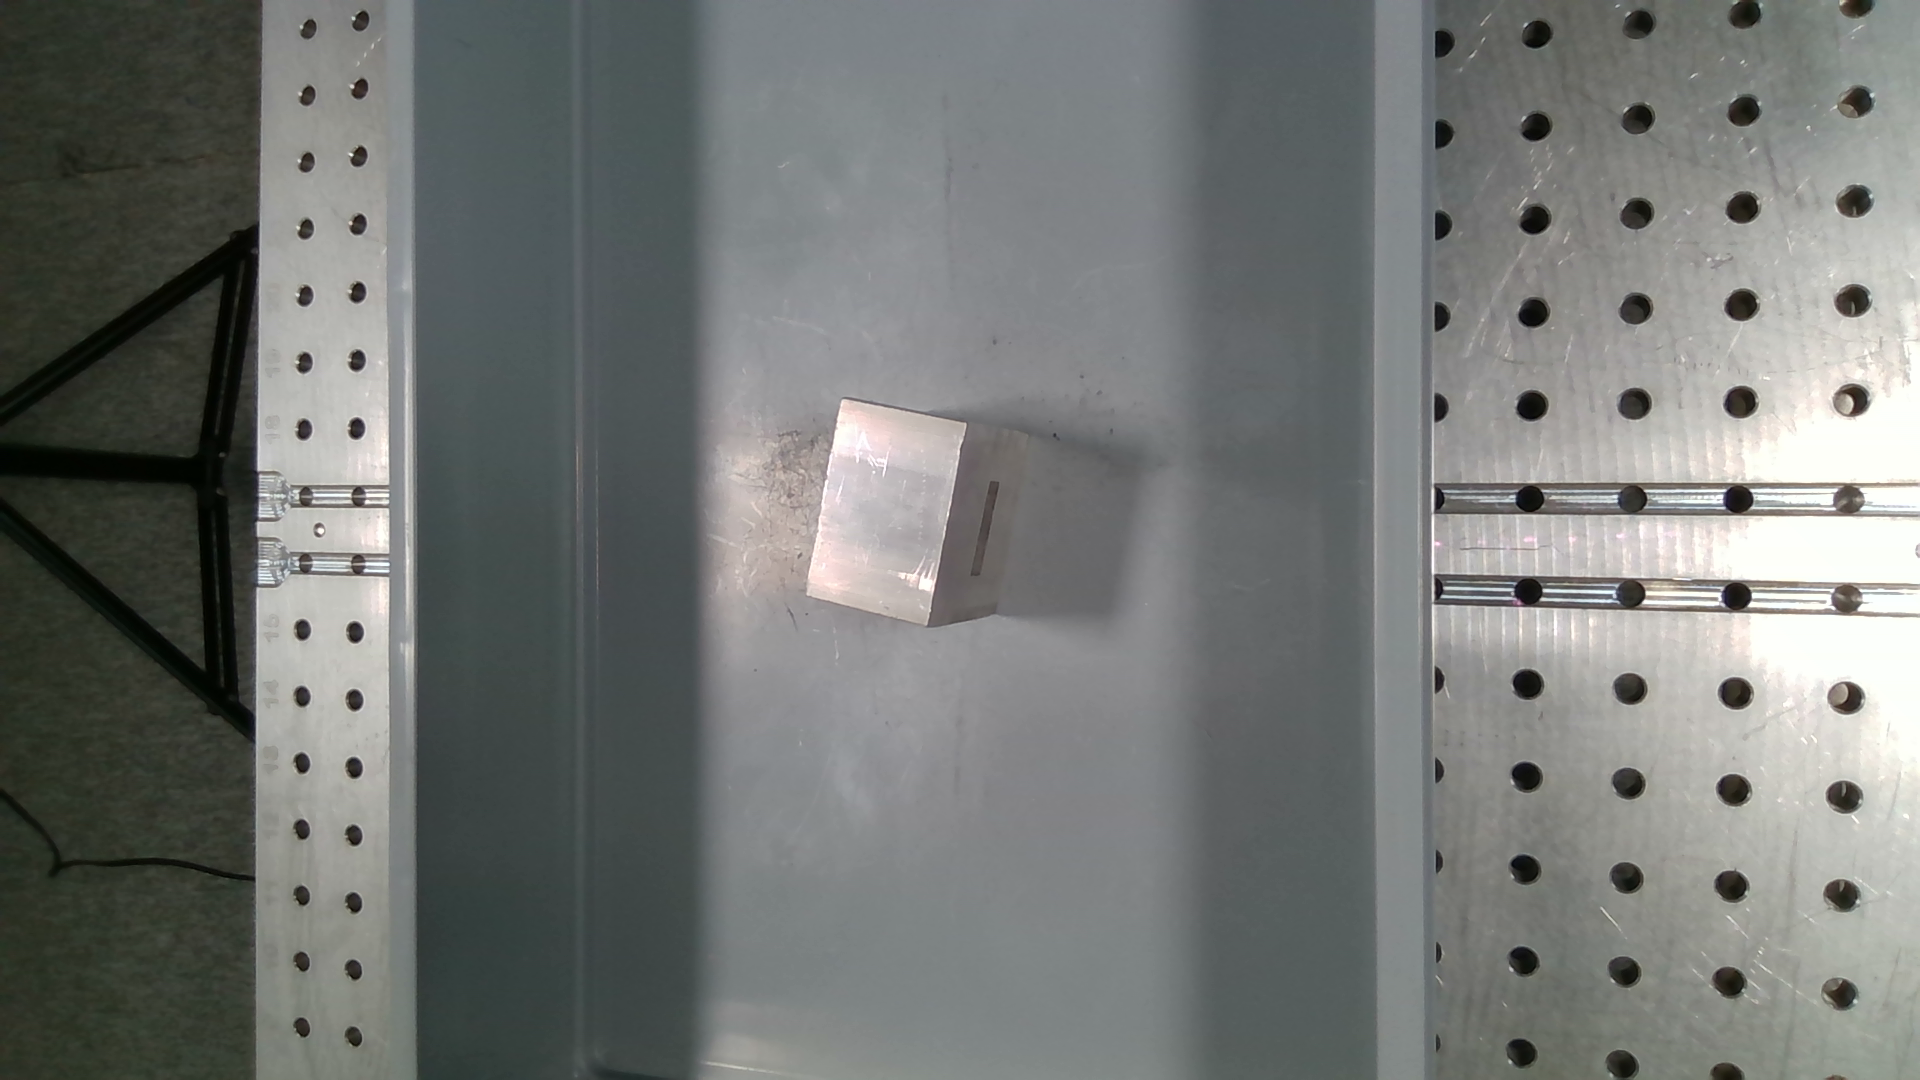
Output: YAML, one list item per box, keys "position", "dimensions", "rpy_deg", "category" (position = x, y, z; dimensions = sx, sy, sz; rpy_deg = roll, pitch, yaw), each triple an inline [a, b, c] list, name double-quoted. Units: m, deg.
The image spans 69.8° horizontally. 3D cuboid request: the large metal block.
- position: [-0.016, -0.011, 0.560]
  dimensions: [0.050, 0.080, 0.080]
  rpy_deg: [13, 95, 20]
  category: "large metal block"
